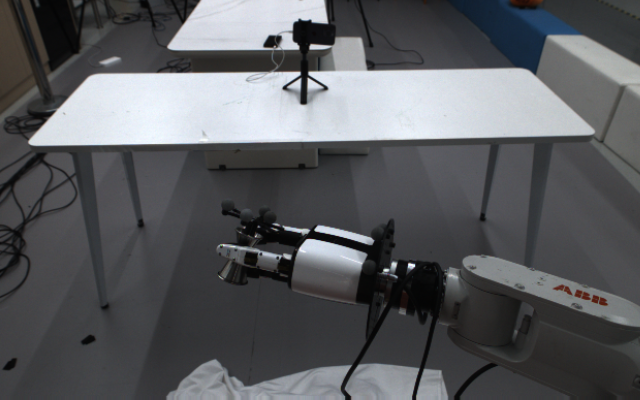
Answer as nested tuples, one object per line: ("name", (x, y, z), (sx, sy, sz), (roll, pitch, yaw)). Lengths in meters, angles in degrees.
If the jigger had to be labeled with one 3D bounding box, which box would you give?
("jigger", (-0.107, 0.074, 0.648), (0.043, 0.071, 0.043), (22, 6, -2))
